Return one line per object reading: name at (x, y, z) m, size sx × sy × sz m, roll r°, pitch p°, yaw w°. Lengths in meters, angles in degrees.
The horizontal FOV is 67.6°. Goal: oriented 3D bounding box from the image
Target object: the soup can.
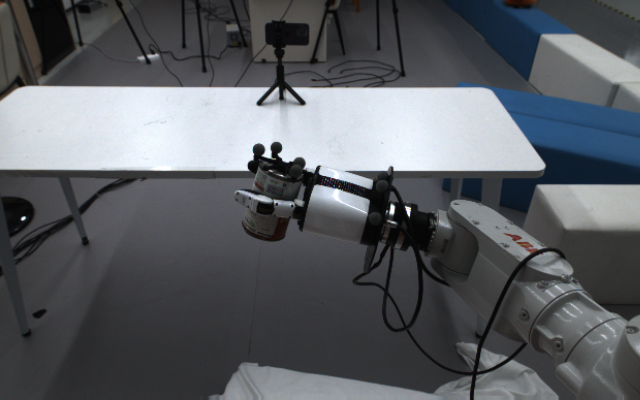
soup can at (-0.068, 0.001, 0.702) m, size 0.067 × 0.101 × 0.067 m, roll 17°, pitch 21°, yaw -7°
